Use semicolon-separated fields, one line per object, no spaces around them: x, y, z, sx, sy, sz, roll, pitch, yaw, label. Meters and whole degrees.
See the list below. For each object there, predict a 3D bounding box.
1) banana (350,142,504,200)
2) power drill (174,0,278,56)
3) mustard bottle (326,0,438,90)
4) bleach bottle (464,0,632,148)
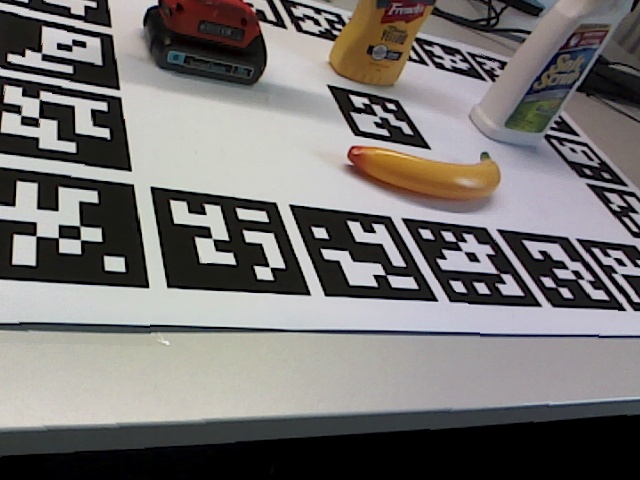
0.120;-0.072;0.619;0.196;0.039;0.074;-2;48;-29;banana
-0.054;-0.271;0.583;0.183;0.187;0.058;-3;47;-29;power drill
0.086;-0.269;0.720;0.095;0.191;0.059;-1;46;-35;mustard bottle
0.284;-0.233;0.748;0.102;0.251;0.068;11;40;-22;bleach bottle
